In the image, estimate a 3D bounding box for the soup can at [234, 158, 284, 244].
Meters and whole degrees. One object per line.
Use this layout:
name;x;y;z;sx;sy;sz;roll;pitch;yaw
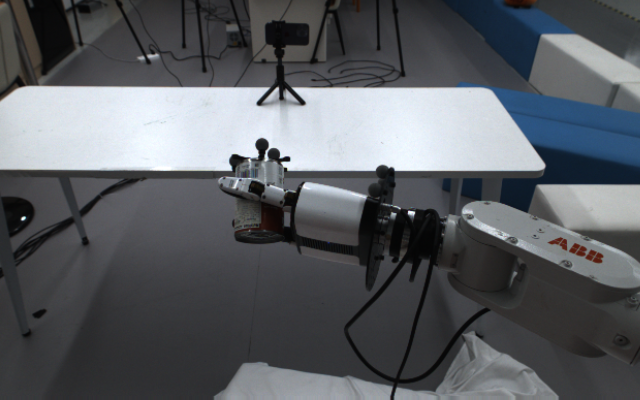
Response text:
soup can;-0.079;0.002;0.649;0.067;0.067;0.101;-1;71;-5
